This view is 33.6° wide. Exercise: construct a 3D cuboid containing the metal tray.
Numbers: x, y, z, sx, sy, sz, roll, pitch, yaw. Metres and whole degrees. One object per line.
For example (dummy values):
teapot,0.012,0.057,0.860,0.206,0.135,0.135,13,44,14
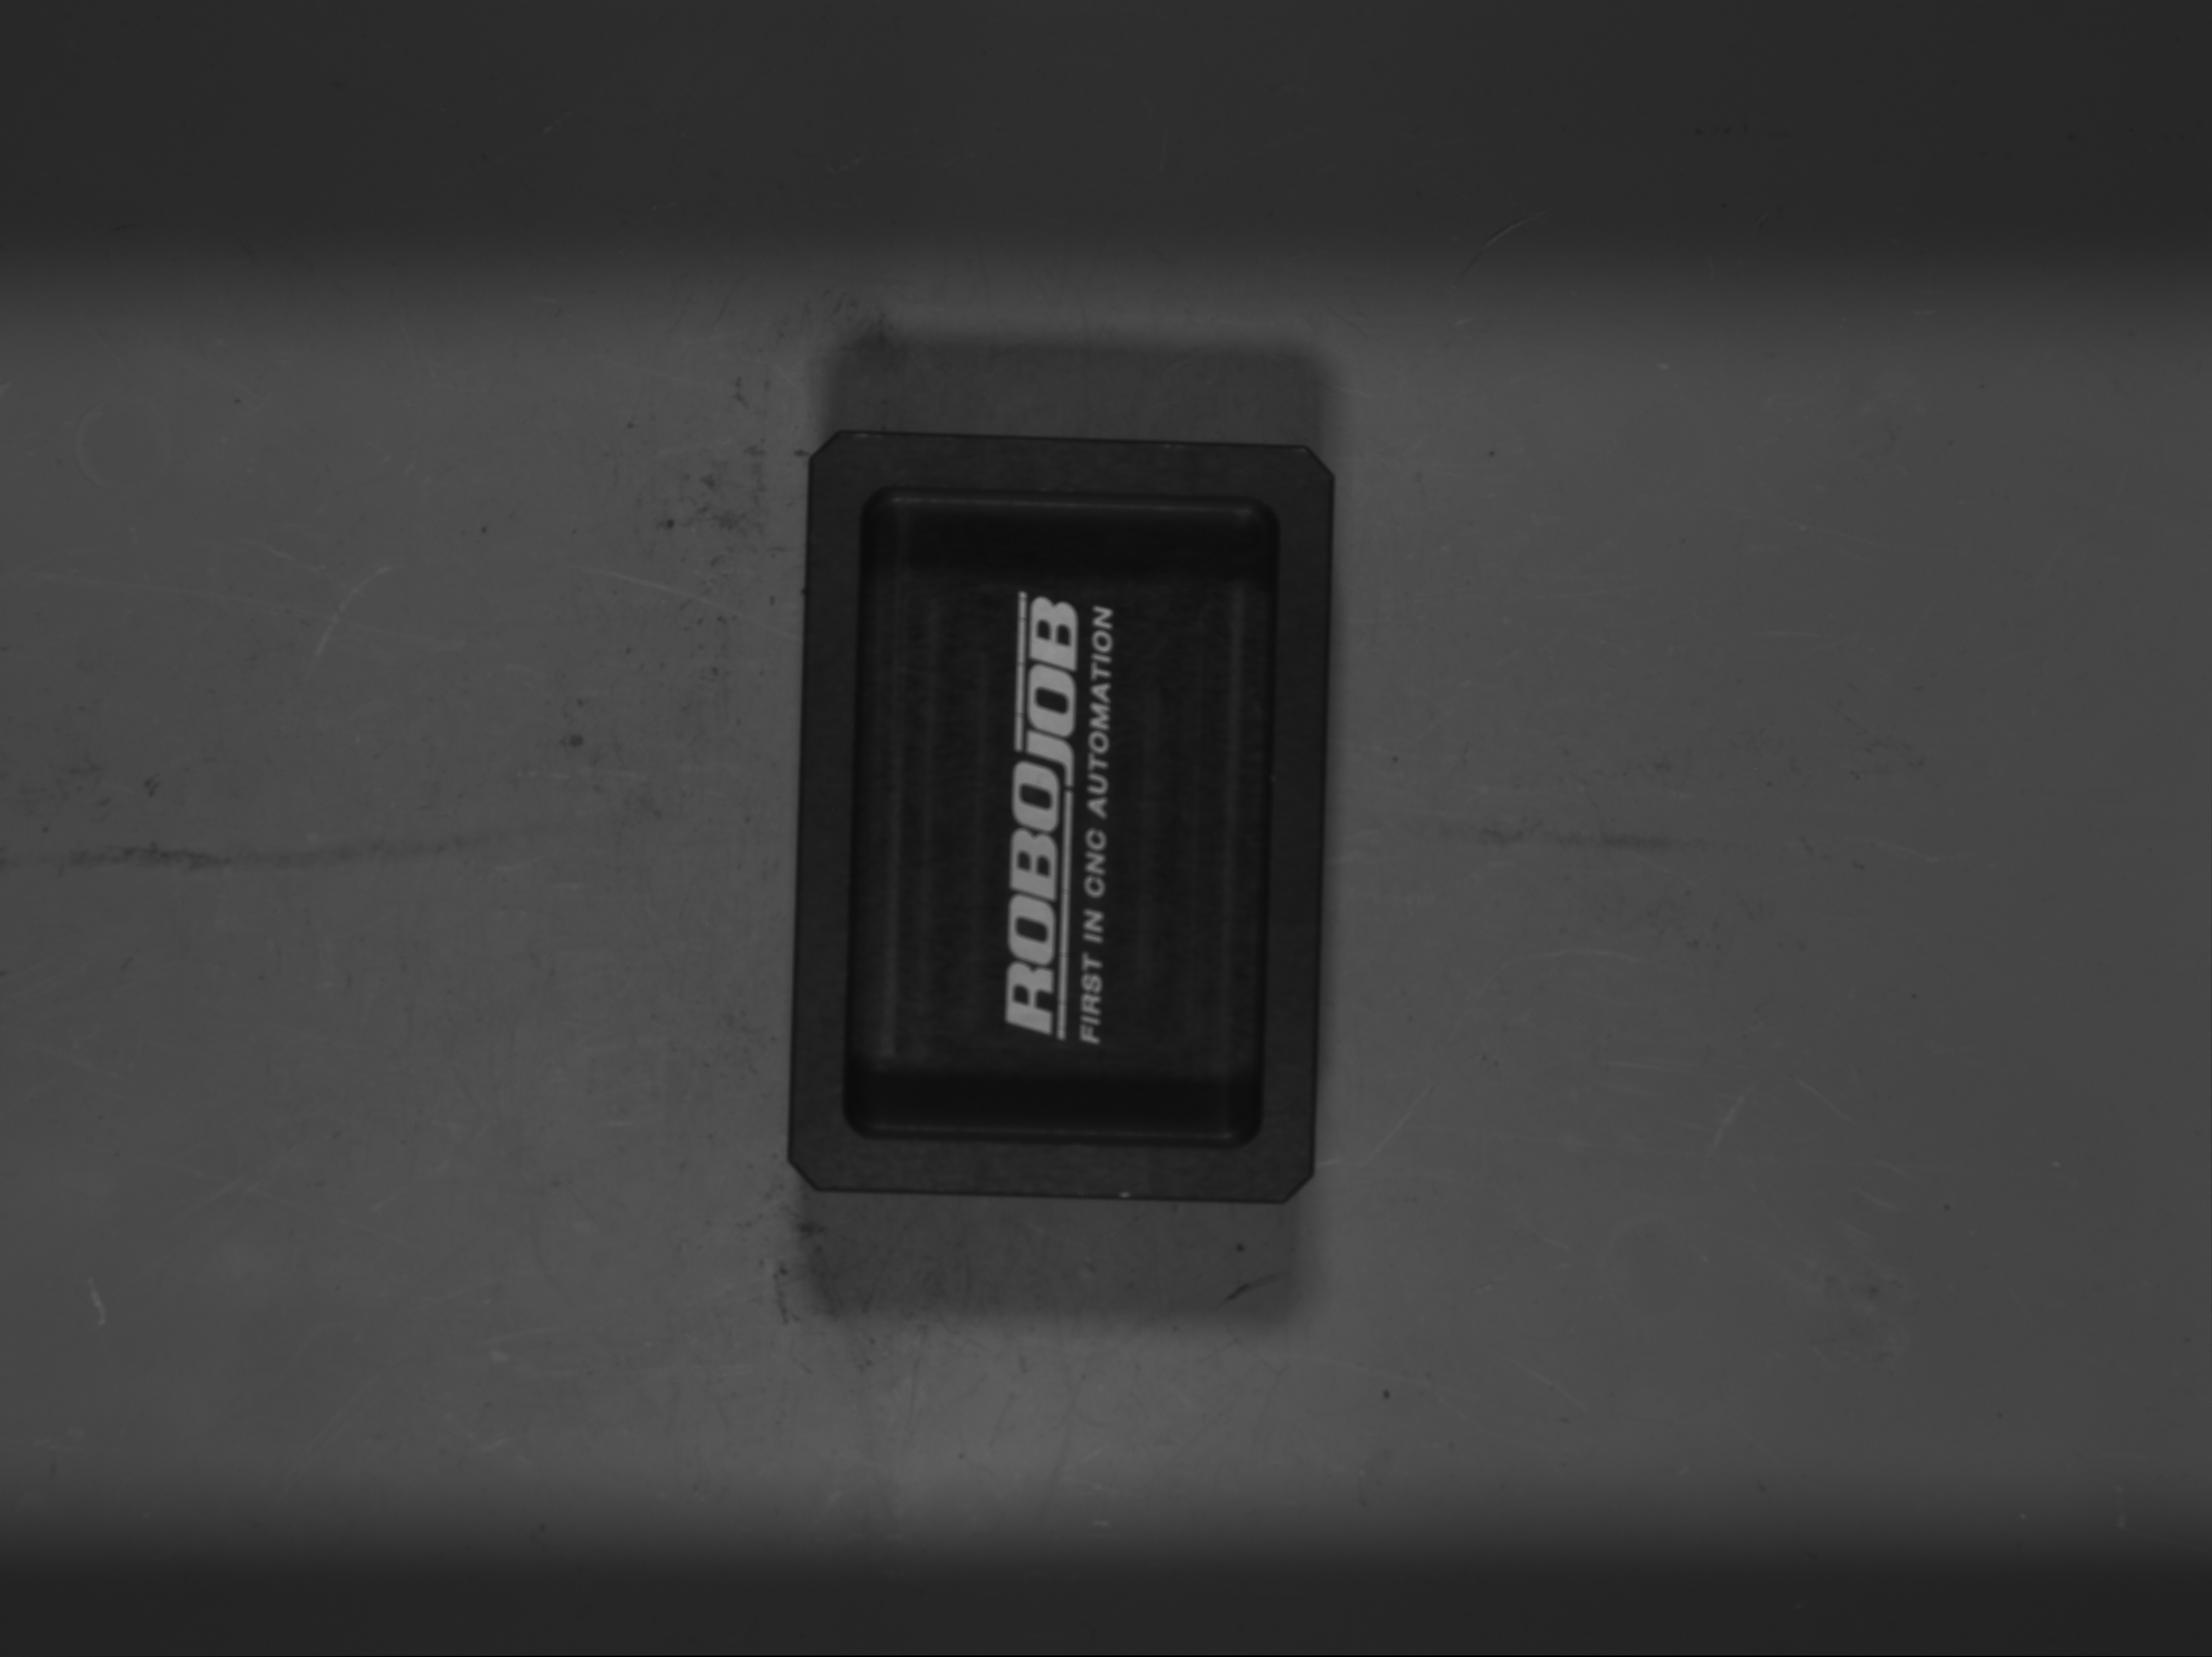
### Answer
metal tray,-0.005,-0.001,0.640,0.090,0.030,0.130,2,90,-1
